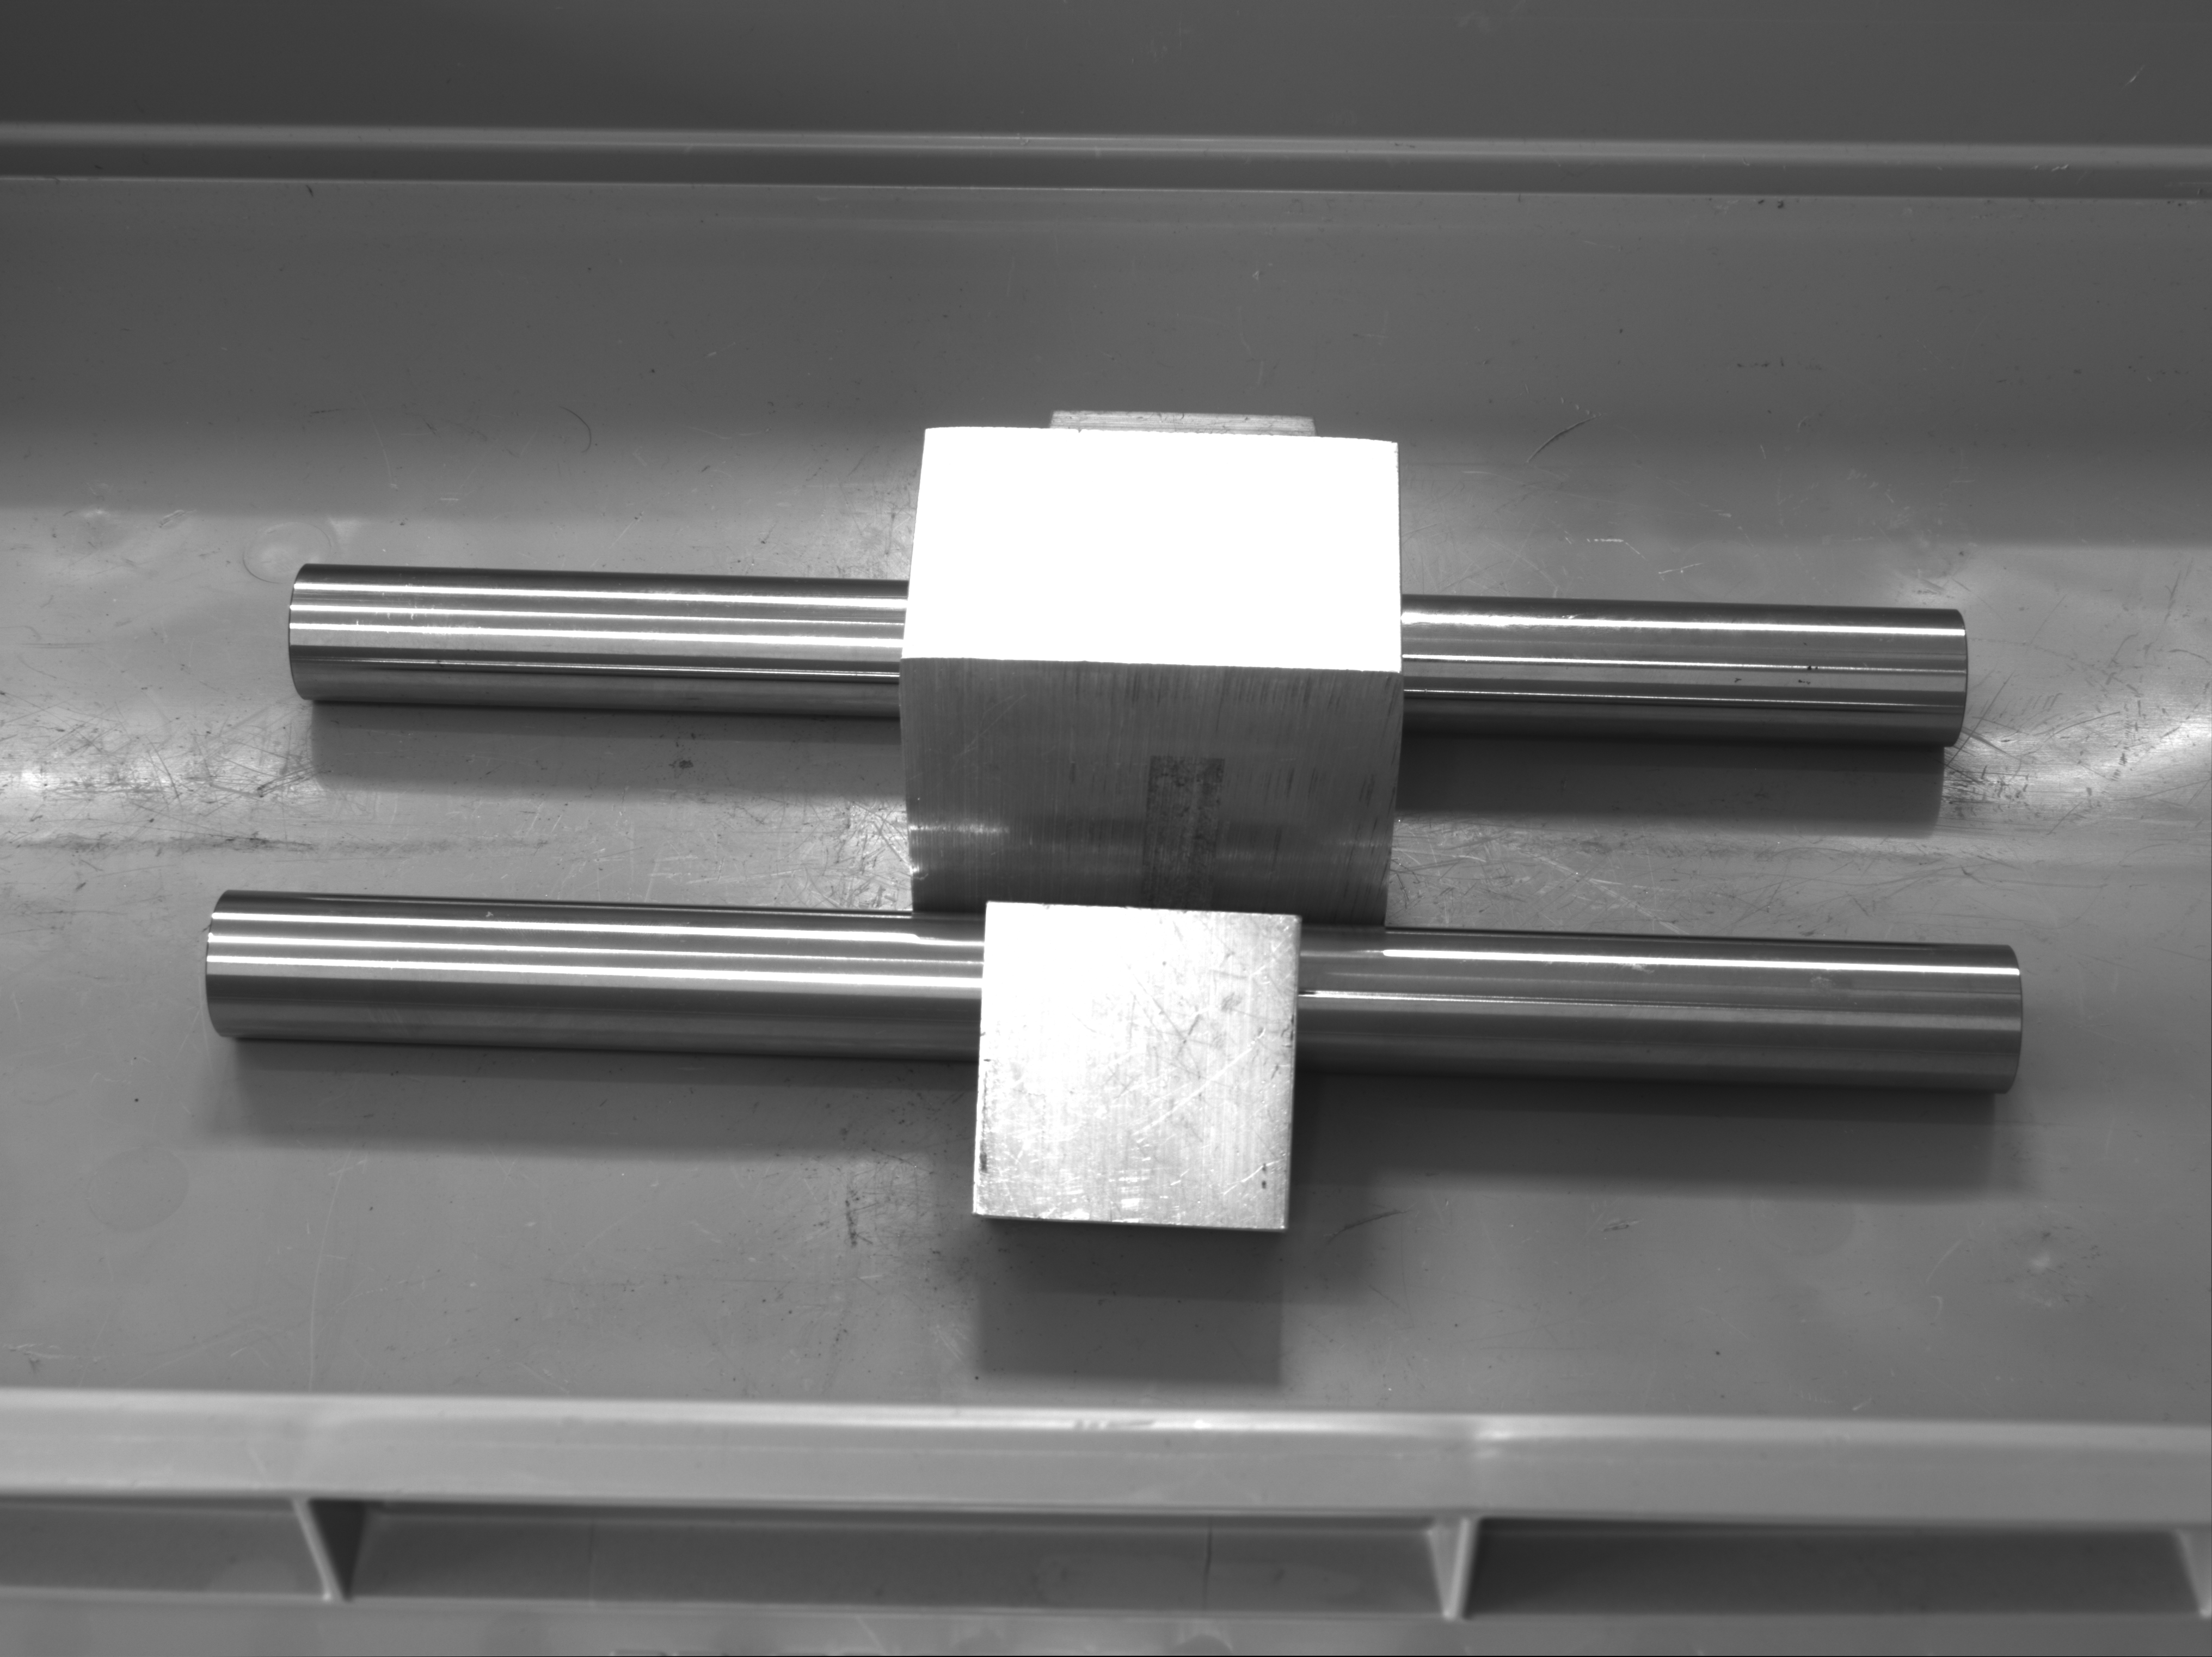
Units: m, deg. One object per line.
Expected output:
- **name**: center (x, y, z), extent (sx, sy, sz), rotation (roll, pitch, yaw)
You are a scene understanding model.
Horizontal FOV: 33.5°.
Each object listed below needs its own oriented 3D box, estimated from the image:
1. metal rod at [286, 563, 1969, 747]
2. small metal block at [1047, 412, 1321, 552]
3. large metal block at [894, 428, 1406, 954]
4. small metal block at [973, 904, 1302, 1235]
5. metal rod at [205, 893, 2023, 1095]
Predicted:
- **metal rod**: center (0.003, -0.032, 0.667), extent (0.300, 0.025, 0.025), rotation (2, 50, 1)
- **small metal block**: center (0.014, -0.060, 0.677), extent (0.050, 0.025, 0.050), rotation (1, 15, 1)
- **large metal block**: center (0.008, -0.020, 0.621), extent (0.080, 0.080, 0.050), rotation (1, 50, 1)
- **small metal block**: center (0.005, 0.039, 0.593), extent (0.050, 0.025, 0.050), rotation (2, 87, 2)
- **metal rod**: center (0.001, 0.028, 0.618), extent (0.300, 0.025, 0.025), rotation (2, 50, 1)
